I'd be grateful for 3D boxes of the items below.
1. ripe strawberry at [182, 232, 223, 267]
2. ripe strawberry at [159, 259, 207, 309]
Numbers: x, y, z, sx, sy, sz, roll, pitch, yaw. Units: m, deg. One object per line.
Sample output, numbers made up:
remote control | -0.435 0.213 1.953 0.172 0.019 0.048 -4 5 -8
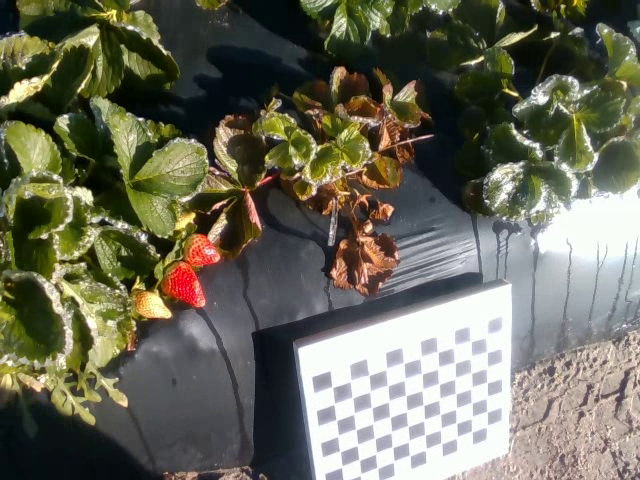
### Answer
ripe strawberry | -0.114 0.011 0.618 0.041 0.036 0.030 15 13 -22
ripe strawberry | -0.126 0.048 0.607 0.051 0.037 0.039 41 0 7
